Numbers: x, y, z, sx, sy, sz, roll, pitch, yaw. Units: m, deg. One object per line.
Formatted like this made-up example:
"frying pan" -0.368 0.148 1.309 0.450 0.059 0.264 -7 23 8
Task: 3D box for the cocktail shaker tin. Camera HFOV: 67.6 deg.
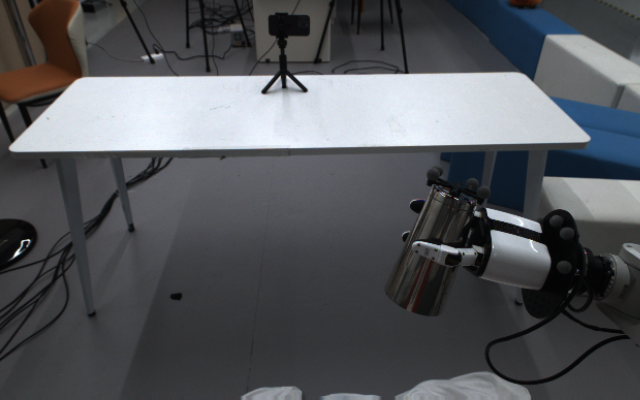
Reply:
"cocktail shaker tin" 0.163 0.068 0.695 0.093 0.170 0.093 15 17 -5
